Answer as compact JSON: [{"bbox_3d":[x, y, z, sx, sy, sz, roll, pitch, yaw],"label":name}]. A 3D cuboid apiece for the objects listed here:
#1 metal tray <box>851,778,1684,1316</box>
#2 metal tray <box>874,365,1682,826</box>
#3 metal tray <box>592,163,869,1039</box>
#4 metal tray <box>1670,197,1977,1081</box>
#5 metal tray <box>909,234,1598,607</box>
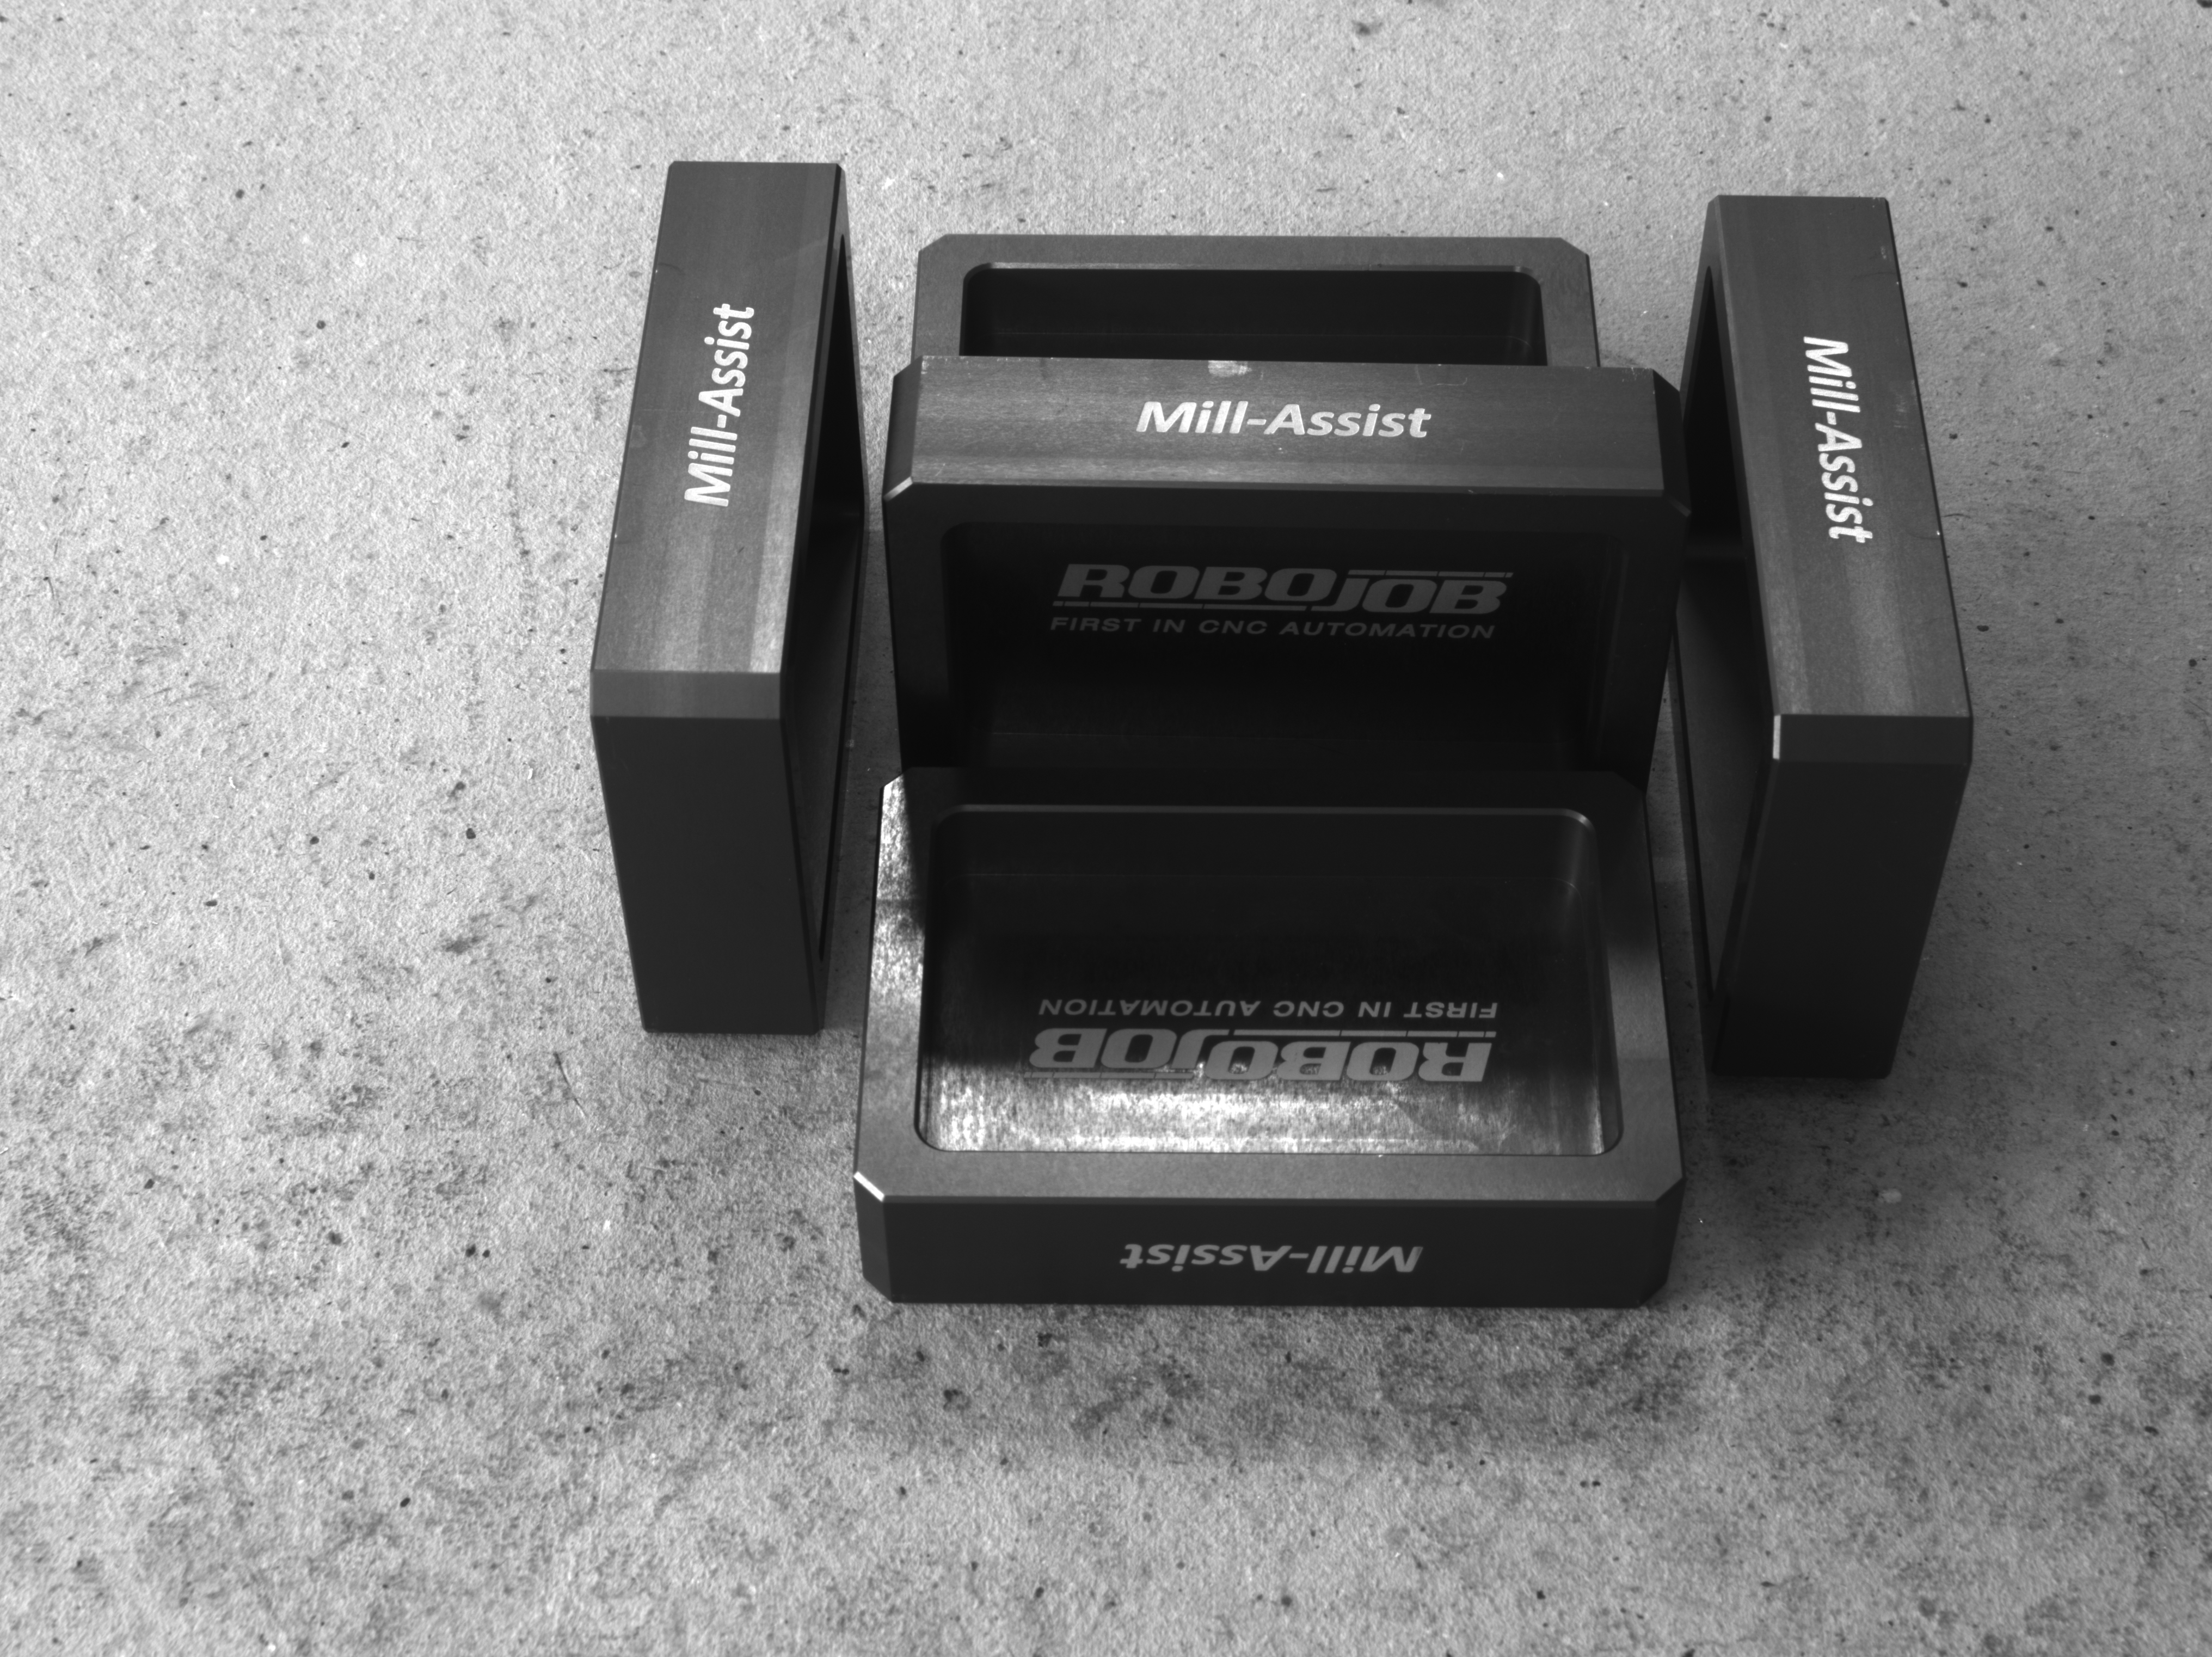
[{"bbox_3d":[0.026,0.035,0.612,0.130,0.030,0.090,1,49,1],"label":"metal tray"},{"bbox_3d":[0.028,-0.036,0.633,0.130,0.090,0.030,1,51,1],"label":"metal tray"},{"bbox_3d":[-0.062,-0.040,0.635,0.030,0.090,0.130,1,50,1],"label":"metal tray"},{"bbox_3d":[0.118,-0.033,0.629,0.030,0.090,0.130,1,50,1],"label":"metal tray"},{"bbox_3d":[0.028,-0.071,0.700,0.130,0.030,0.090,0,53,0],"label":"metal tray"}]
